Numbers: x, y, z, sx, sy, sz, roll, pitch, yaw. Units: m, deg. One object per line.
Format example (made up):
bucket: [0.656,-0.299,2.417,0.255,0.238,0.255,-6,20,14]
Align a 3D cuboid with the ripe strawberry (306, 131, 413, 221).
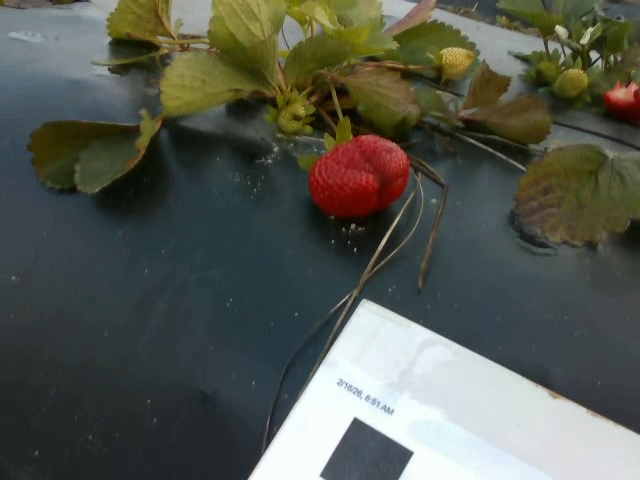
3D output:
ripe strawberry: [0.005,-0.008,0.081,0.017,0.014,0.015,-36,15,-7]
